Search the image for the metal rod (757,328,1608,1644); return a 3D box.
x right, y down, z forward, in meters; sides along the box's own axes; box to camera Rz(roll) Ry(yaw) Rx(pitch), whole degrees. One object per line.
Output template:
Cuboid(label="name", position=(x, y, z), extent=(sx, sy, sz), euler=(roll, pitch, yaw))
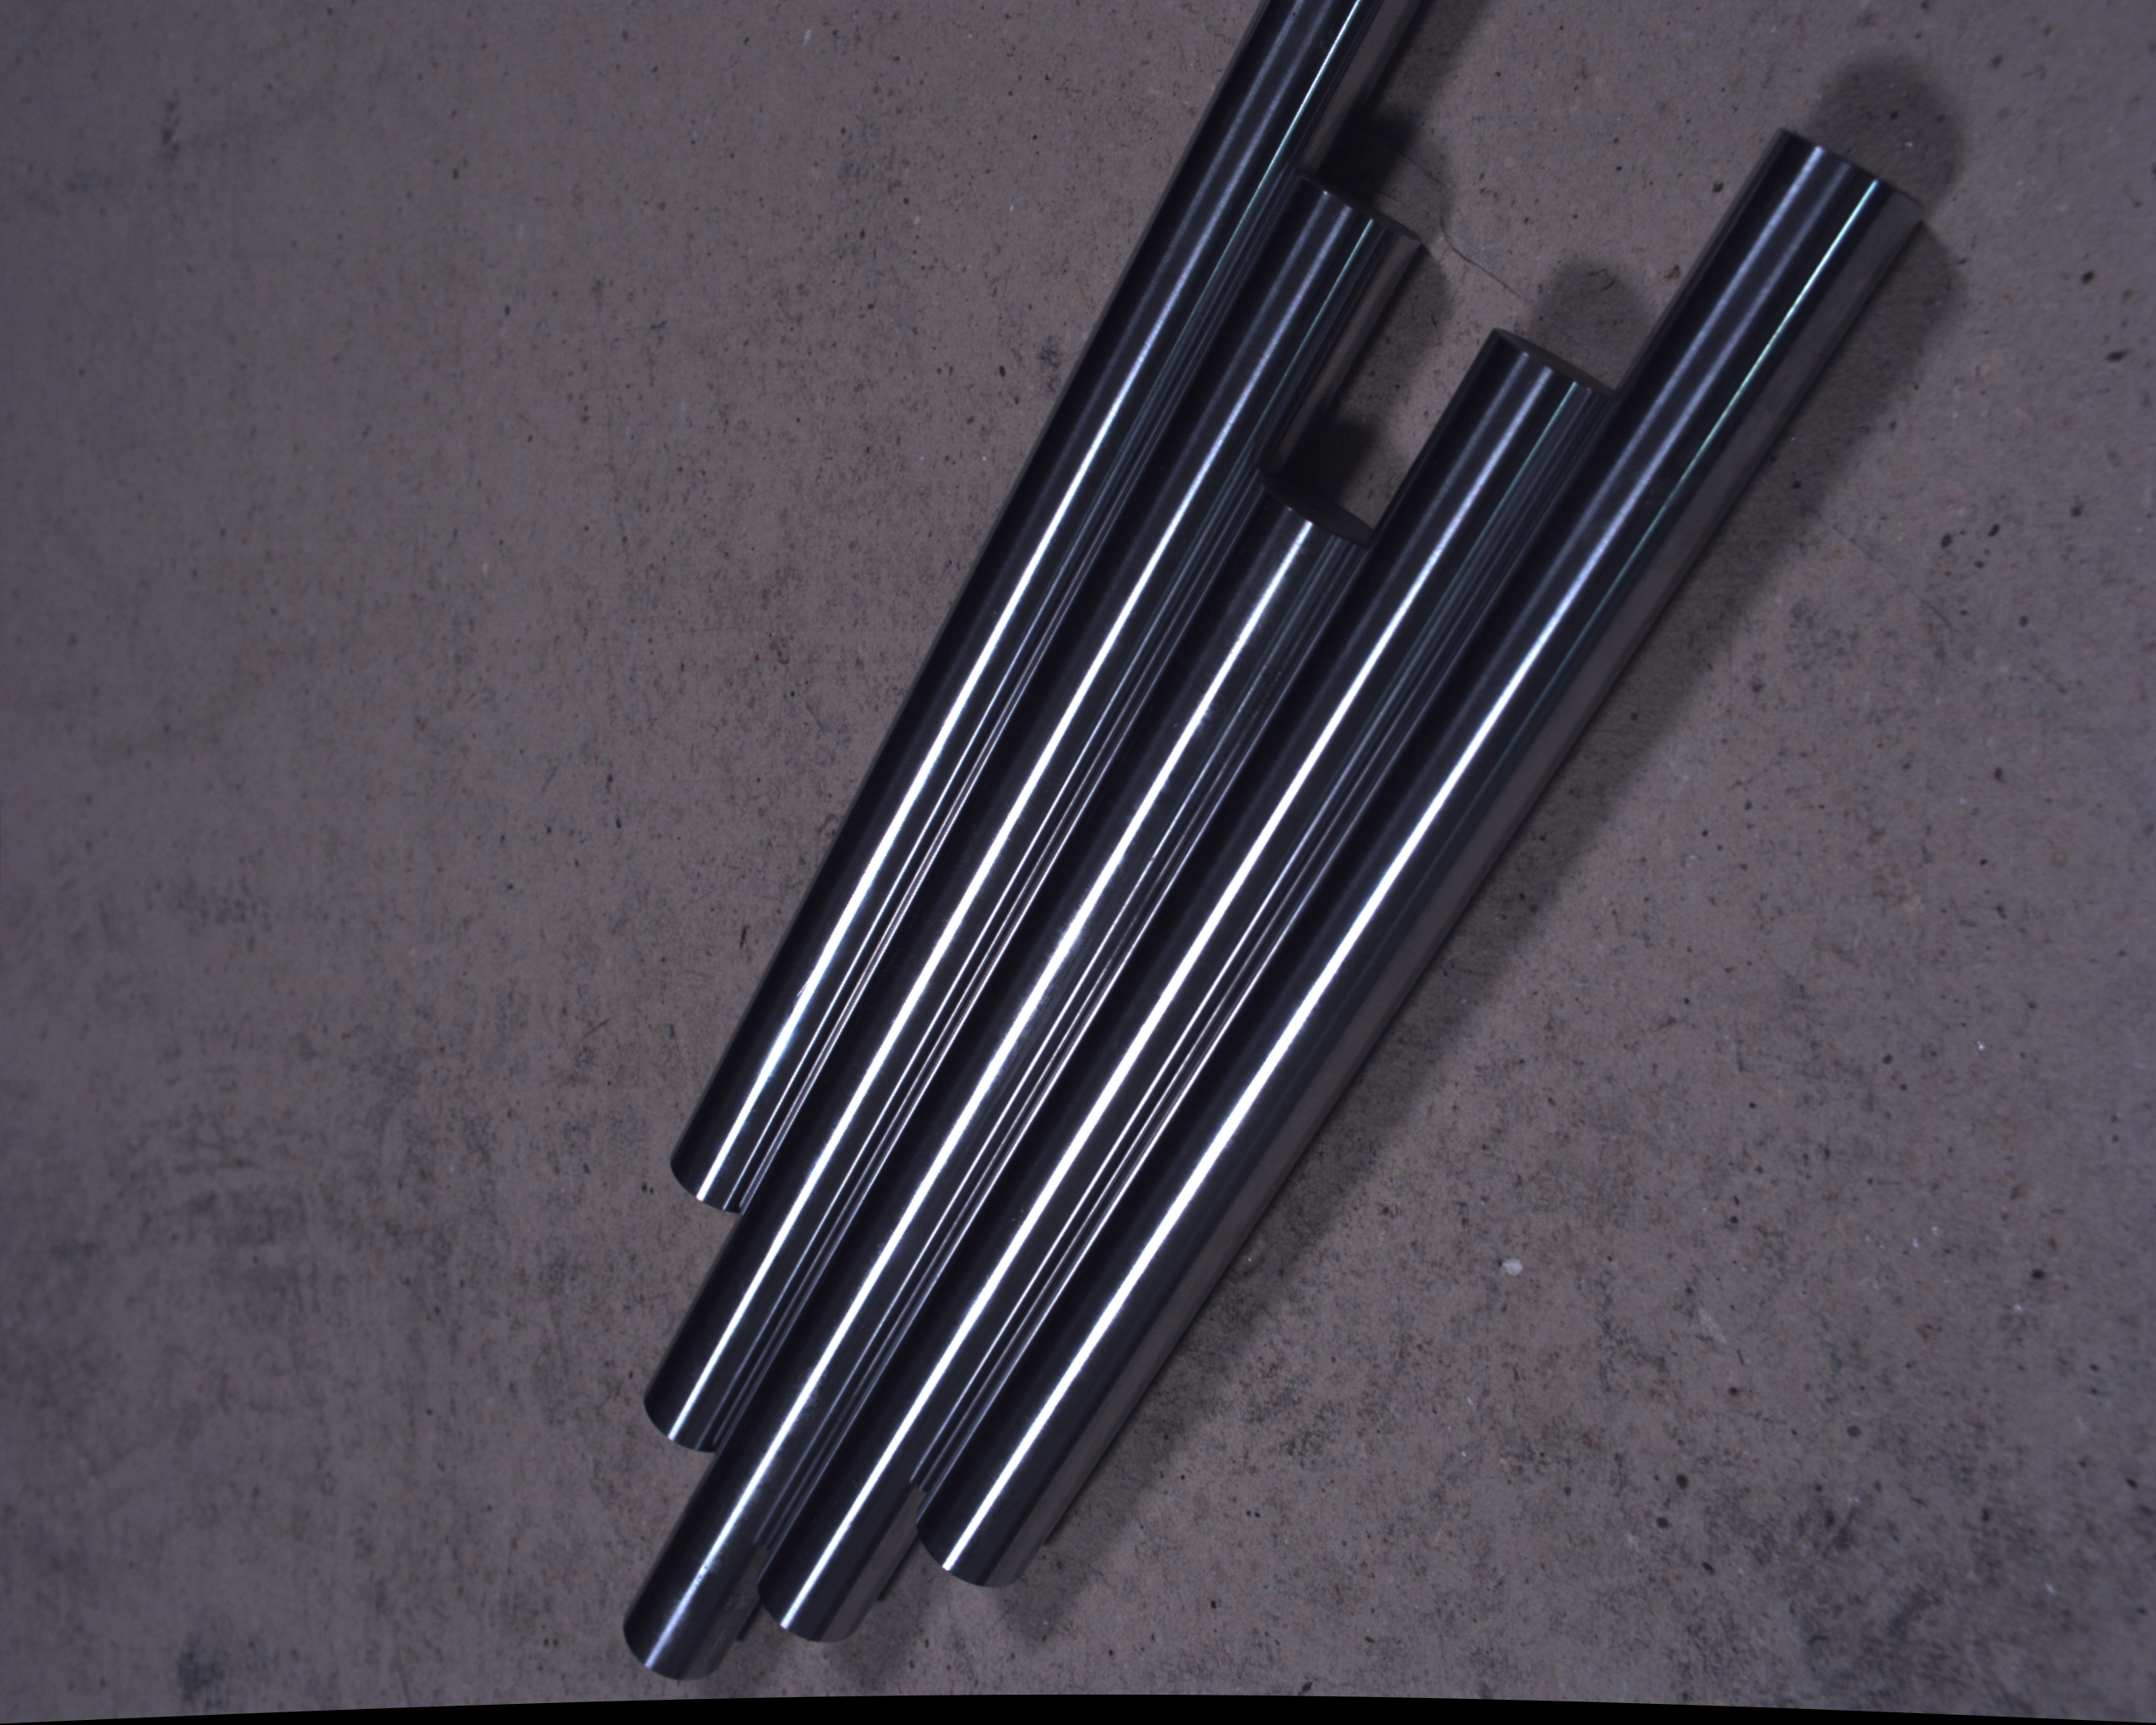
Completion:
Cuboid(label="metal rod", position=(0.010, 0.039, 0.396), extent=(0.025, 0.025, 0.298), euler=(44, 116, 31))

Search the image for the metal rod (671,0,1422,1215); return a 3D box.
Cuboid(label="metal rod", position=(-0.012, -0.049, 0.414), extent=(0.025, 0.025, 0.298), euler=(44, 116, 31))

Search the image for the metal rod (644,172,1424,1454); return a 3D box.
Cuboid(label="metal rod", position=(-0.019, 0.005, 0.420), extent=(0.025, 0.025, 0.298), euler=(44, 116, 31))

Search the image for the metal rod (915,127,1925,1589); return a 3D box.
Cuboid(label="metal rod", position=(0.046, 0.017, 0.366), extent=(0.025, 0.025, 0.298), euler=(44, 116, 31))

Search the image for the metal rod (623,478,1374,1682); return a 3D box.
Cuboid(label="metal rod", position=(-0.025, 0.058, 0.425), extent=(0.025, 0.025, 0.298), euler=(44, 116, 31))
